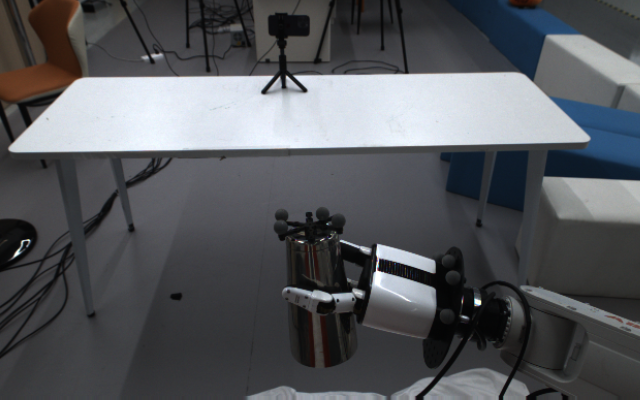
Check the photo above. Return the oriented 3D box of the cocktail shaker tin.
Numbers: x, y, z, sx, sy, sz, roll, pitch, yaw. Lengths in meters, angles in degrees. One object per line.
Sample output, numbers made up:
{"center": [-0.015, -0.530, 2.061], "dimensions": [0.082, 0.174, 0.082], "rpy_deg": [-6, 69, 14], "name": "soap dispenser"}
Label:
{"center": [-0.002, 0.120, 0.630], "dimensions": [0.093, 0.170, 0.093], "rpy_deg": [-6, 19, 2], "name": "cocktail shaker tin"}
